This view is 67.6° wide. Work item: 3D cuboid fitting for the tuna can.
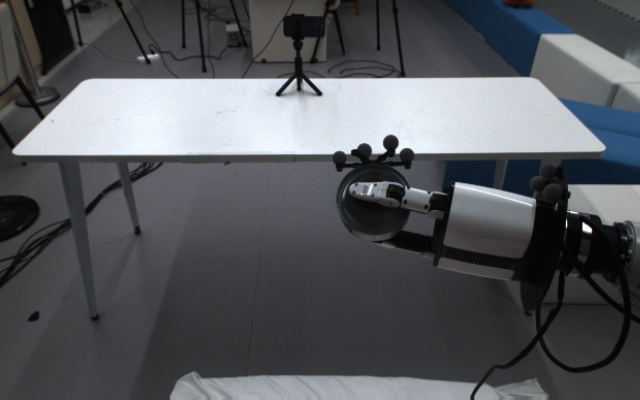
[{"bbox_3d":[0.064,-0.001,0.555,0.085,0.034,0.085,-3,66,7],"label":"tuna can"}]
